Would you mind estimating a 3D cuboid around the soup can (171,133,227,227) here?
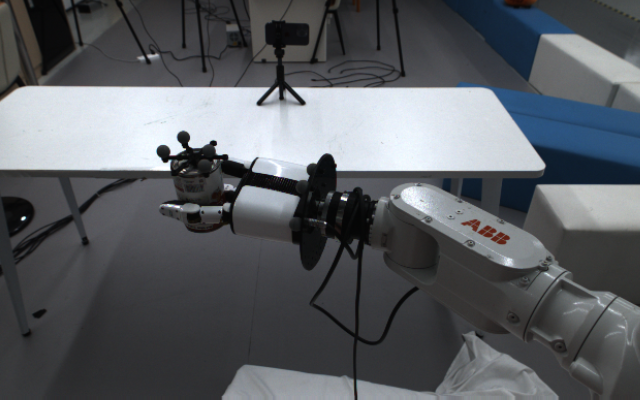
[{"bbox_3d":[-0.167,-0.011,0.681,0.067,0.101,0.067,0,39,0],"label":"soup can"}]
